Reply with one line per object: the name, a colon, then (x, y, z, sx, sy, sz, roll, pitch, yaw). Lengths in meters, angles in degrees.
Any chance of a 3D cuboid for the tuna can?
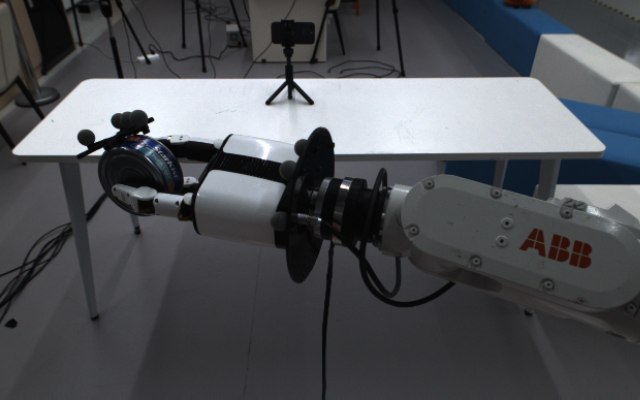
tuna can: (-0.191, -0.019, 0.524, 0.085, 0.085, 0.034, 11, 34, 13)
